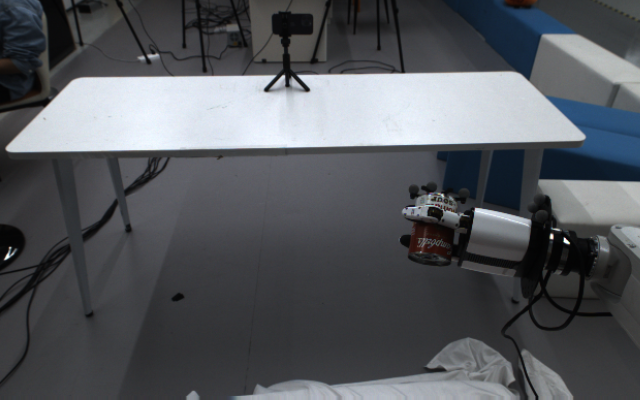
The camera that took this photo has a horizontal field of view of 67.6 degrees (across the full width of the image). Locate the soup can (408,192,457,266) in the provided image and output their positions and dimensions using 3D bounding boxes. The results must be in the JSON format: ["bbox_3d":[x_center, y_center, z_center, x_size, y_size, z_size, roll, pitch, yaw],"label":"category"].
[{"bbox_3d":[0.180,0.046,0.765,0.067,0.067,0.101,9,70,10],"label":"soup can"}]
